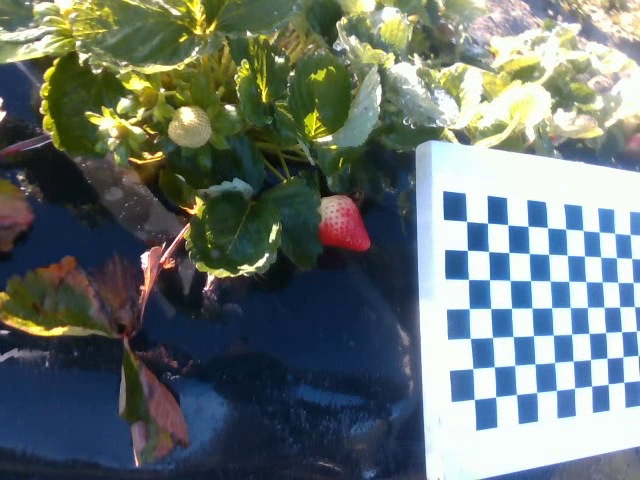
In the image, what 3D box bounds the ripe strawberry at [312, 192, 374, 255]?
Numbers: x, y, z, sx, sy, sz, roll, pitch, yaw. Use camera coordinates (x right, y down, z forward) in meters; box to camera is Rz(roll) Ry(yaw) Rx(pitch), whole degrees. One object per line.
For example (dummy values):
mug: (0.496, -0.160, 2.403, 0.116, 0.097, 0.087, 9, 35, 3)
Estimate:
ripe strawberry: (0.022, -0.008, 0.494, 0.065, 0.040, 0.040, 46, -27, -16)
